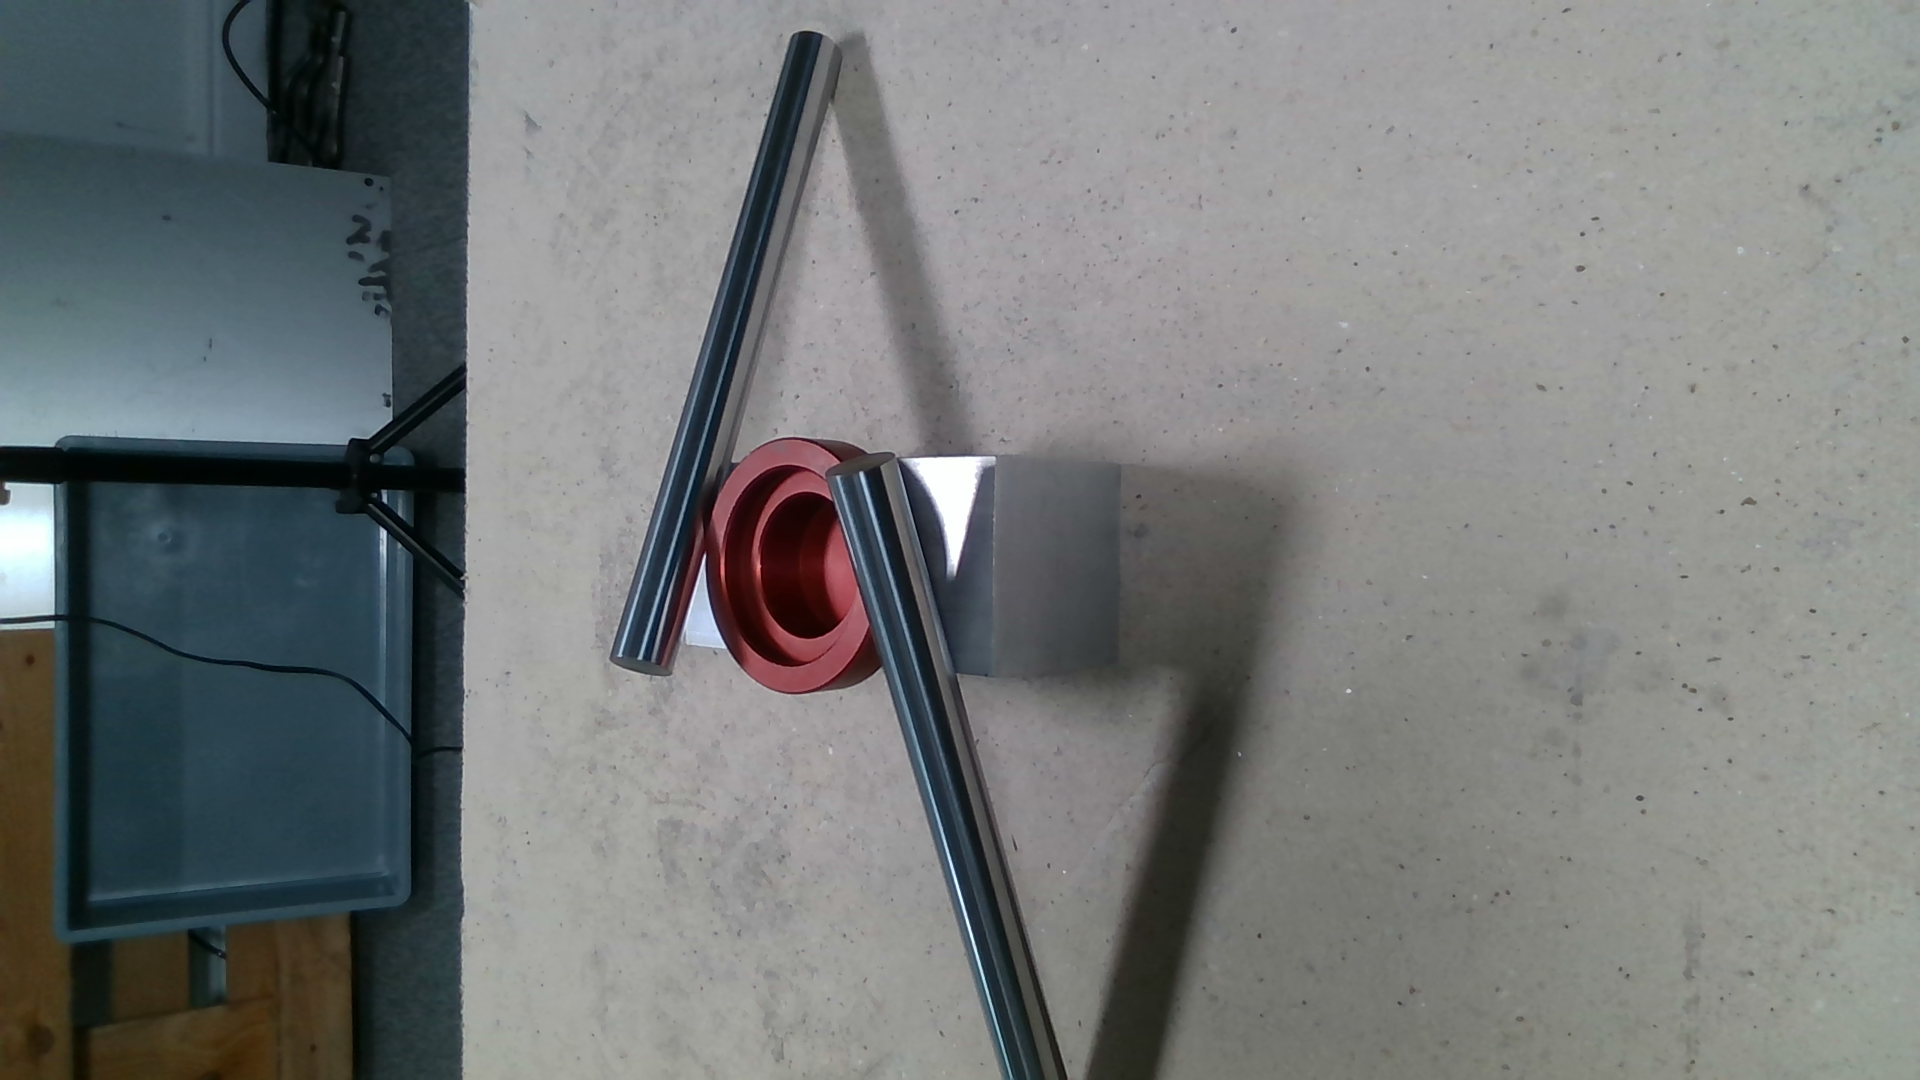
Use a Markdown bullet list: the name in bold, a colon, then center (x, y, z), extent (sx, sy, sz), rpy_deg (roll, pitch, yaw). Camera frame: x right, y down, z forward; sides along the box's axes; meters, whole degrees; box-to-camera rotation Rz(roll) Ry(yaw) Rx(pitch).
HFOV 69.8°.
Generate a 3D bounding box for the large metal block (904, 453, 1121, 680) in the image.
- **large metal block**: center (0.018, 0.009, 0.531), extent (0.050, 0.080, 0.080), rpy_deg (1, 91, 40)

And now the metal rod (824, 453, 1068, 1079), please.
- **metal rod**: center (0.004, 0.113, 0.510), extent (0.025, 0.025, 0.301), rpy_deg (-1, 112, 40)

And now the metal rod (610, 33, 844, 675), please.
- **metal rod**: center (-0.095, -0.088, 0.589), extent (0.025, 0.025, 0.299), rpy_deg (-5, 64, 40)

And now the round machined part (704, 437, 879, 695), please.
- **round machined part**: center (-0.053, 0.010, 0.539), extent (0.098, 0.042, 0.098), rpy_deg (0, 91, 40)

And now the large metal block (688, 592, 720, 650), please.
- **large metal block**: center (-0.074, 0.007, 0.609), extent (0.050, 0.080, 0.080), rpy_deg (1, 91, 40)
